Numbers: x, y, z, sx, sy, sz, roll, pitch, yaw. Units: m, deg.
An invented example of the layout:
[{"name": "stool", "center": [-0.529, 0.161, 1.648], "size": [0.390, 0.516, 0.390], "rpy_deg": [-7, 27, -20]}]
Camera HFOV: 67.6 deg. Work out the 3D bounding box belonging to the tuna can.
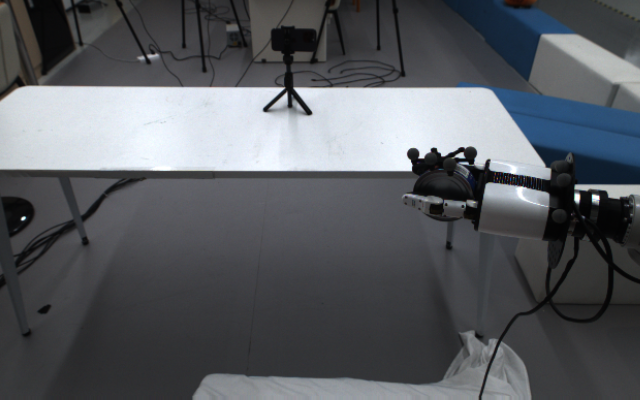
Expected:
[{"name": "tuna can", "center": [0.182, -0.015, 0.700], "size": [0.085, 0.085, 0.034], "rpy_deg": [17, 37, 20]}]
